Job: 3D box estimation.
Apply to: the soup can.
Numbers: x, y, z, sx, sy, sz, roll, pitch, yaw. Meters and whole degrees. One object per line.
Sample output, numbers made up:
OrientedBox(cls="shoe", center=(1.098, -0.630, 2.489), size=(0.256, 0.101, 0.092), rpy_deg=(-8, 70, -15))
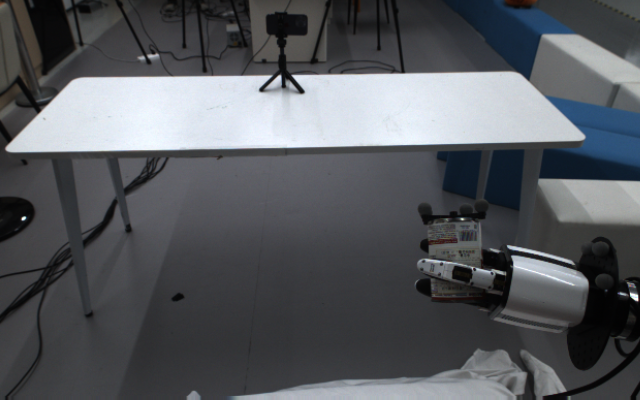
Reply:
OrientedBox(cls="soup can", center=(0.173, 0.077, 0.612), size=(0.067, 0.101, 0.067), rpy_deg=(-1, -9, 0))
